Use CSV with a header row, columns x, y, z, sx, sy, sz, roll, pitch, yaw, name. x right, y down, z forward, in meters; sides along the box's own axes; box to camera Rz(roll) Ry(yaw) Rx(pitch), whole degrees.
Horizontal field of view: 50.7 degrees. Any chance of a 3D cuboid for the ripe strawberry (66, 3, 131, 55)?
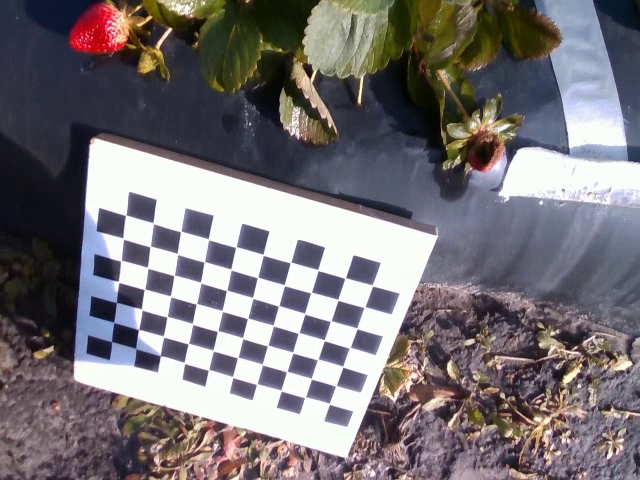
x,y,z,sx,sy,sz,roll,pitch,yaw,name
-0.176,-0.169,0.530,0.053,0.043,0.038,-39,21,-19,ripe strawberry
